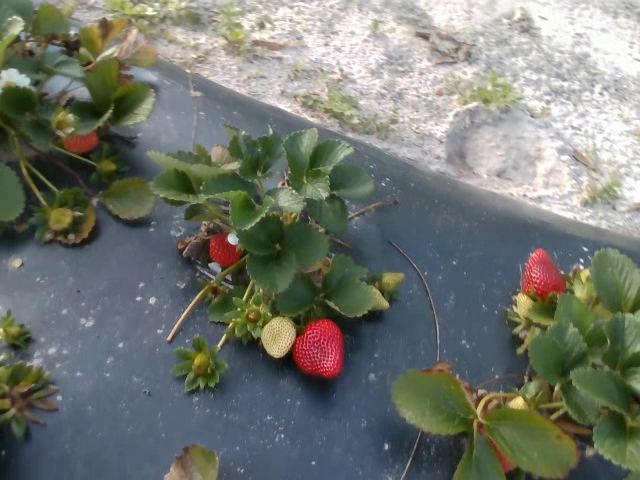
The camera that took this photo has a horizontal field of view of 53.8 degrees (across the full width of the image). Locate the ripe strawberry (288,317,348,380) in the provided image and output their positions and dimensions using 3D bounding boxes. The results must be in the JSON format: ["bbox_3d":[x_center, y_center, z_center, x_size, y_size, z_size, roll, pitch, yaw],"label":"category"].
[{"bbox_3d":[0.002,0.098,0.524,0.048,0.051,0.055,40,10,-28],"label":"ripe strawberry"}]
